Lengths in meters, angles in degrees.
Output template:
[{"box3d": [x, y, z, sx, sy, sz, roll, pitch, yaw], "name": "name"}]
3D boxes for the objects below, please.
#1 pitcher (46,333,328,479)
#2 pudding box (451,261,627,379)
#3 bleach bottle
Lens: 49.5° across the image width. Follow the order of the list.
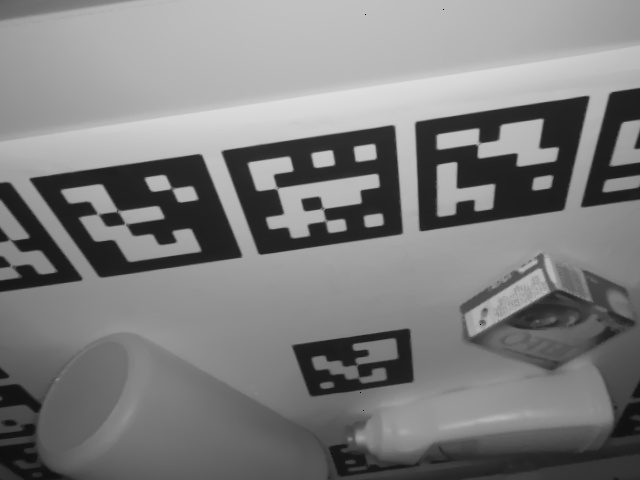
[{"box3d": [-0.120, 0.185, 0.626, 0.186, 0.135, 0.243, 2, 146, 47], "name": "pitcher"}, {"box3d": [0.178, 0.069, 0.568, 0.115, 0.039, 0.088, 24, 135, -26], "name": "pudding box"}, {"box3d": [0.155, 0.198, 0.694, 0.250, 0.068, 0.102, -11, 132, 9], "name": "bleach bottle"}]
